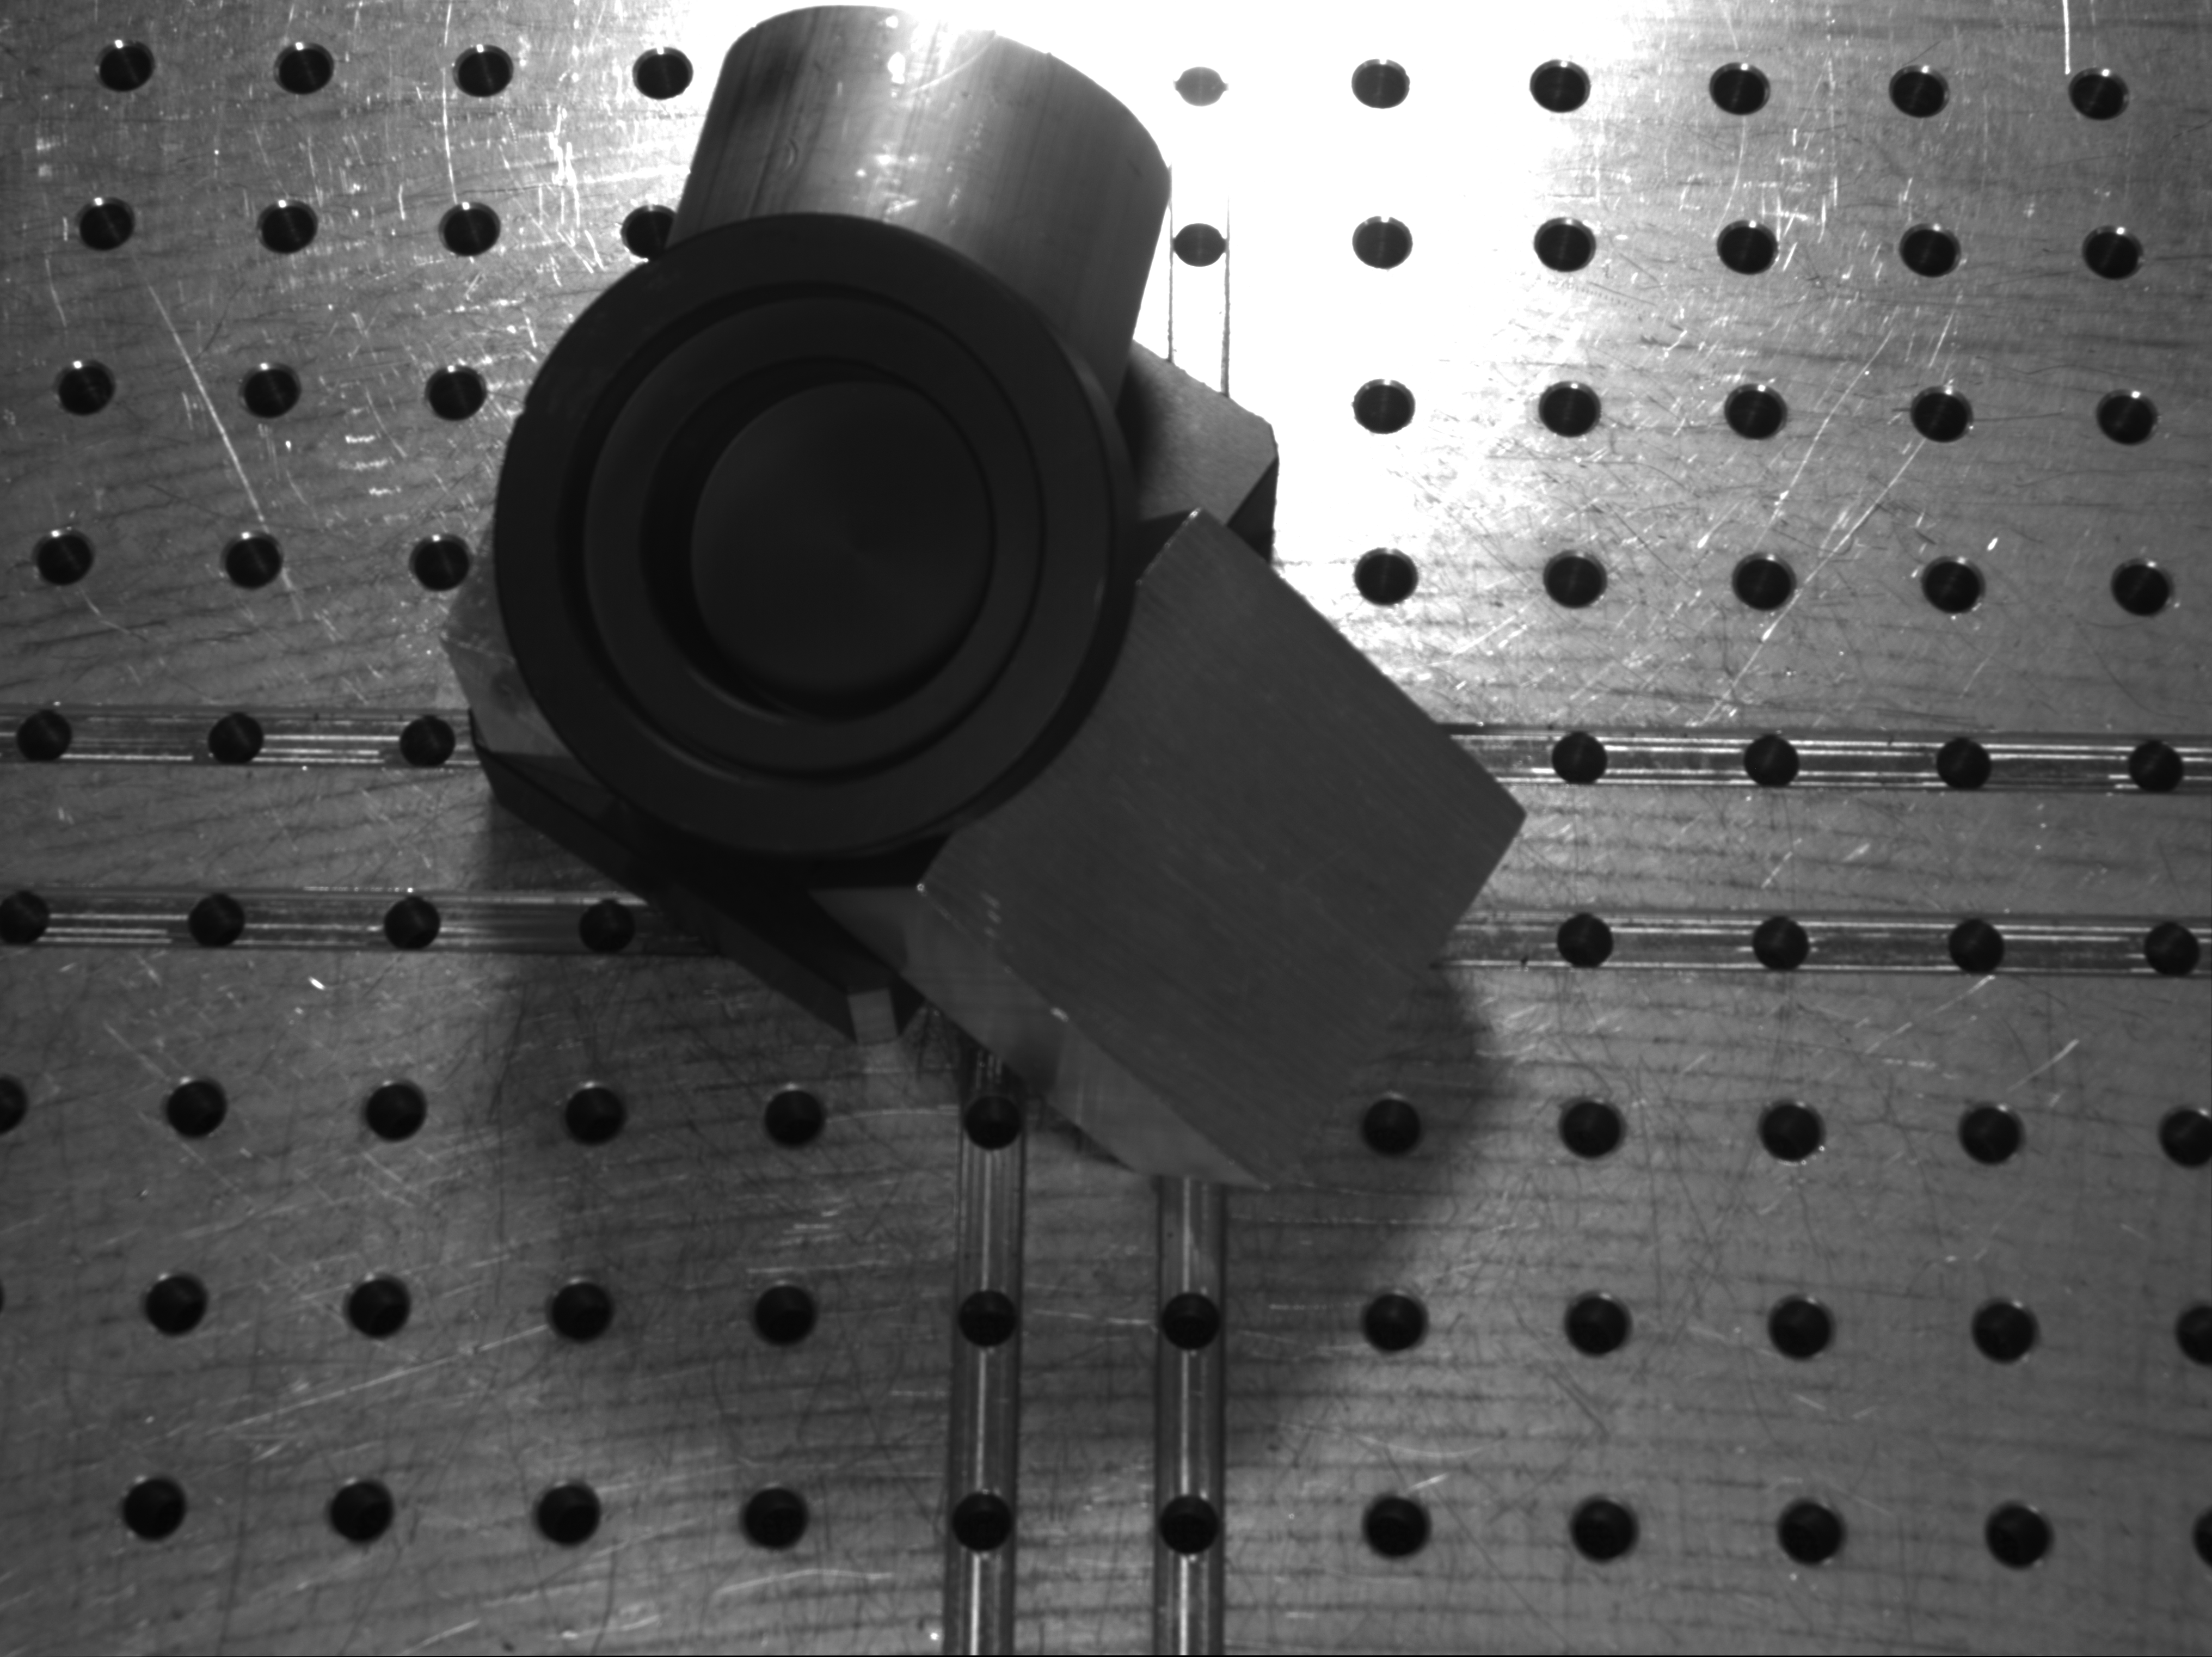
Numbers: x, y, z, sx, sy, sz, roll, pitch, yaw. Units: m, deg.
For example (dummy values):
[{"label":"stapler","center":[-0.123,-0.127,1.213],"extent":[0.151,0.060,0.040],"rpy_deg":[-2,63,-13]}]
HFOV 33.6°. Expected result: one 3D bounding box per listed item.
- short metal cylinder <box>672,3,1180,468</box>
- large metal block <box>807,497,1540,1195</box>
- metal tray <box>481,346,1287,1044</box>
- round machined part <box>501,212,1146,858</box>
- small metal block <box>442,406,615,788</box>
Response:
[{"label":"short metal cylinder","center":[-0.032,-0.095,0.621],"extent":[0.080,0.080,0.050],"rpy_deg":[13,70,5]},{"label":"large metal block","center":[0.011,0.004,0.613],"extent":[0.080,0.050,0.080],"rpy_deg":[42,72,-18]},{"label":"metal tray","center":[-0.039,-0.038,0.659],"extent":[0.090,0.030,0.130],"rpy_deg":[33,73,11]},{"label":"round machined part","center":[-0.041,-0.044,0.575],"extent":[0.098,0.042,0.098],"rpy_deg":[0,90,11]},{"label":"small metal block","center":[-0.086,-0.040,0.615],"extent":[0.025,0.050,0.050],"rpy_deg":[18,71,7]}]
